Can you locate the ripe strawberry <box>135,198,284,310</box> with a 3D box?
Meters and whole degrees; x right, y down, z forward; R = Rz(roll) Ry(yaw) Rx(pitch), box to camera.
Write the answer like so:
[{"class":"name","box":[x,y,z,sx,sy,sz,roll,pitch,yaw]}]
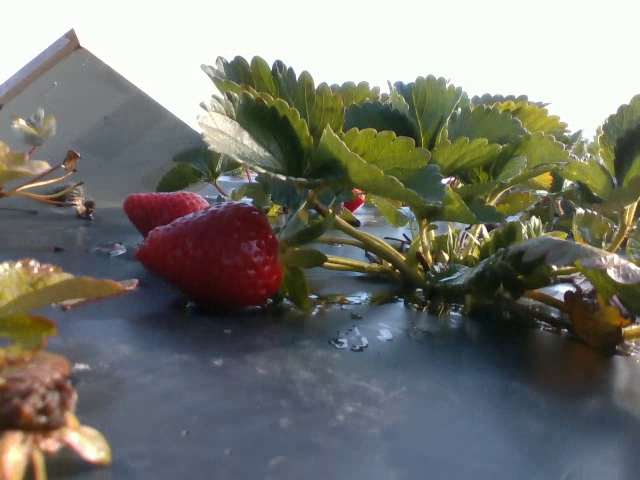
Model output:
[{"class":"ripe strawberry","box":[-0.047,0.004,0.241,0.064,0.050,0.049,-10,-28,-34]}]
